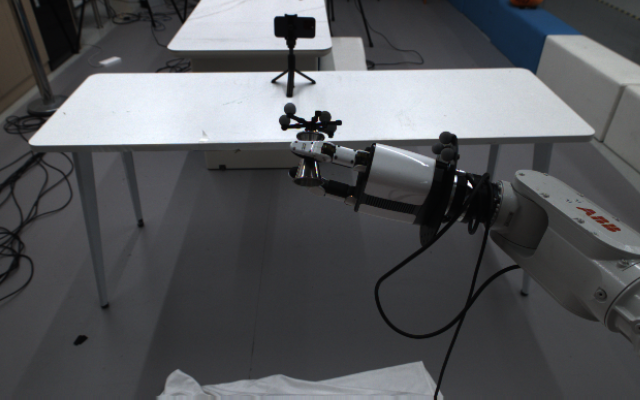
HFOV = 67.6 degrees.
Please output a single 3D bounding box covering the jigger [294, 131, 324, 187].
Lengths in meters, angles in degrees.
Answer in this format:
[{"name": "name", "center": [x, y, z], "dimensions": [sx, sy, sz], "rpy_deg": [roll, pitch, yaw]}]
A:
[{"name": "jigger", "center": [-0.016, -0.058, 0.669], "dimensions": [0.043, 0.043, 0.071], "rpy_deg": [3, 76, 1]}]
